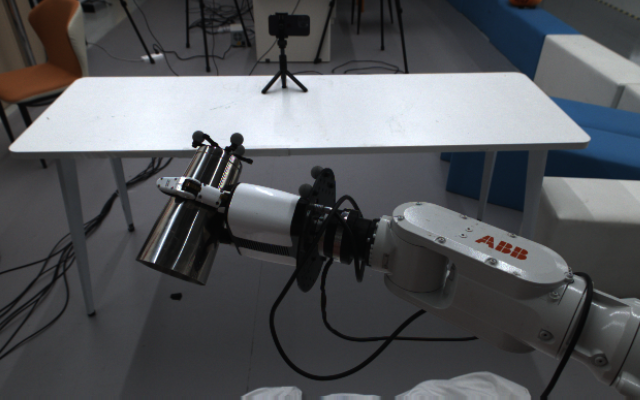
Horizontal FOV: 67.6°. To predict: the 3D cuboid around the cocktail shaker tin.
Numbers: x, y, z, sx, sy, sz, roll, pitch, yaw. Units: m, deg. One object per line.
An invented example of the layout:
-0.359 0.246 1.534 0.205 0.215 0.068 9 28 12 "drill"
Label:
-0.165 0.017 0.641 0.093 0.093 0.170 13 70 15 "cocktail shaker tin"
